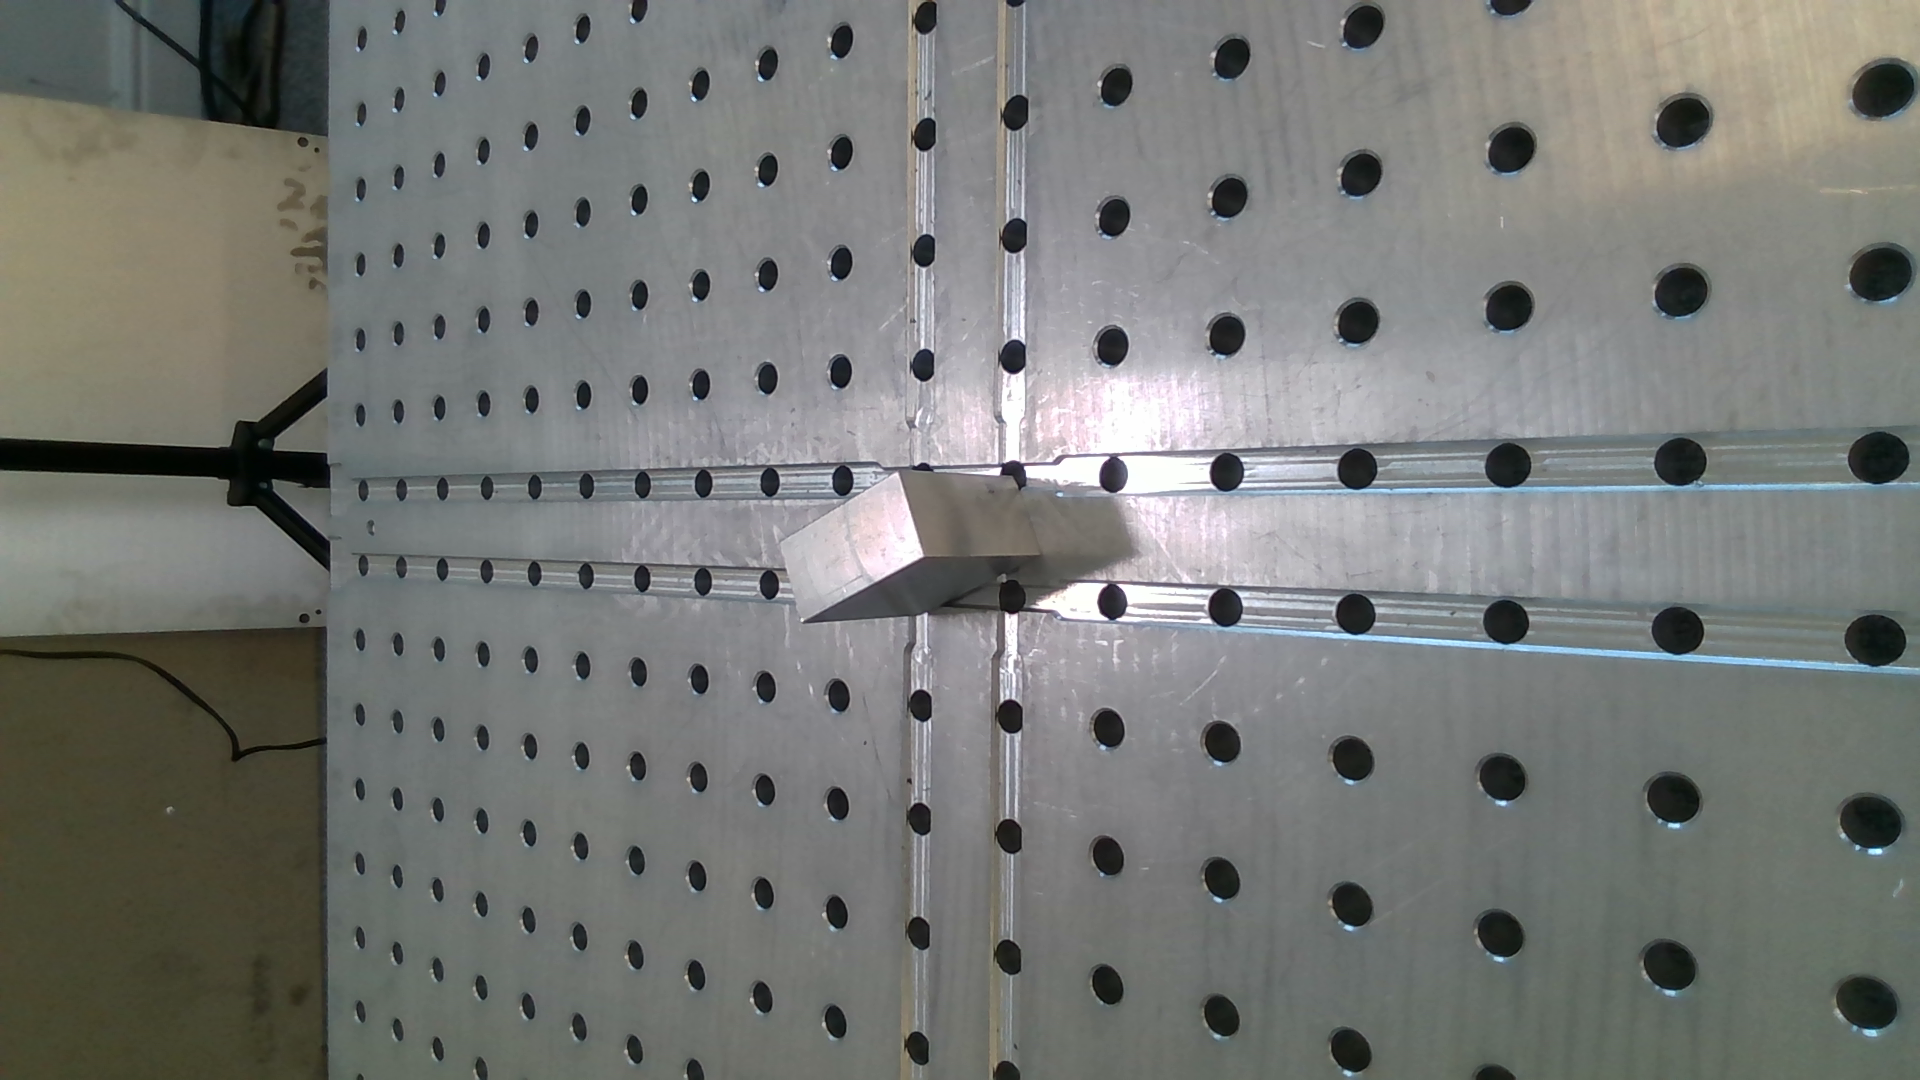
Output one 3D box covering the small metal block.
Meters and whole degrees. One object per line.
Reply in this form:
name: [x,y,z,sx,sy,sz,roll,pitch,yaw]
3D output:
small metal block: [-0.014,0.003,0.389,0.050,0.050,0.025,-29,72,37]
